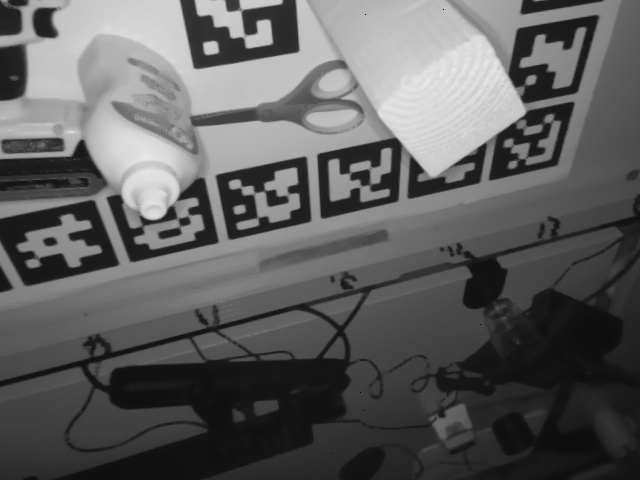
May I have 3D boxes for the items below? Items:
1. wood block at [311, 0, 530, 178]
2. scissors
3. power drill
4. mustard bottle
[{"bbox_3d":[0.072,-0.158,0.567,0.090,0.206,0.090,-34,133,11],"label":"wood block"},{"bbox_3d":[-0.022,-0.125,0.680,0.204,0.016,0.087,-12,138,-12],"label":"scissors"},{"bbox_3d":[-0.203,-0.148,0.556,0.187,0.057,0.185,-4,125,-19],"label":"power drill"},{"bbox_3d":[-0.139,-0.084,0.558,0.058,0.192,0.097,-43,131,19],"label":"mustard bottle"}]
